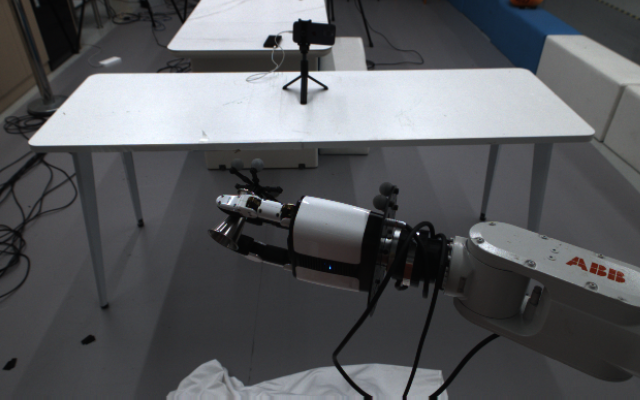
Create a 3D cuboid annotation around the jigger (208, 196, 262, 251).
[{"bbox_3d":[-0.106,0.021,0.614,0.043,0.043,0.071,19,62,23],"label":"jigger"}]
